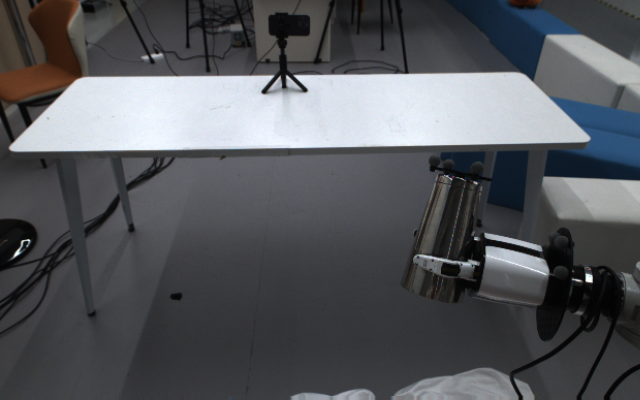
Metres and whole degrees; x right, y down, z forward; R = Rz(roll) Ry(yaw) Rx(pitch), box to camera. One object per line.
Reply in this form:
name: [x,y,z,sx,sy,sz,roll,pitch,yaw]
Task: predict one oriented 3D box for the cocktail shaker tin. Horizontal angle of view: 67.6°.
cocktail shaker tin: [0.182,0.052,0.704,0.093,0.170,0.093,13,4,-1]
